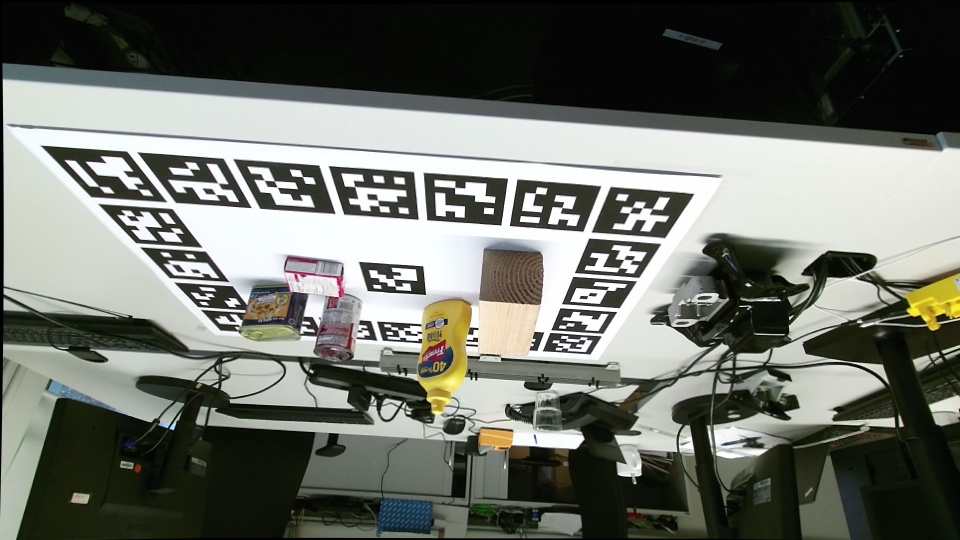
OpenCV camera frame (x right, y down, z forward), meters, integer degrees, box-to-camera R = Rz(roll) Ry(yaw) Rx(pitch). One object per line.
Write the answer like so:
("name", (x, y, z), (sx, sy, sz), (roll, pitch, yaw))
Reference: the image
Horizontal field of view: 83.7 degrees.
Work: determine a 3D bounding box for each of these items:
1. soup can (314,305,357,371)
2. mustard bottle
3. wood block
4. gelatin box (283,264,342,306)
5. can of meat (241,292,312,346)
("soup can", (-0.259, 0.121, 0.950), (0.068, 0.101, 0.068), (2, 147, 1))
("mustard bottle", (-0.065, 0.157, 0.931), (0.096, 0.190, 0.058), (-9, 147, 22))
("wood block", (0.040, 0.070, 0.866), (0.091, 0.089, 0.206), (6, 153, -1))
("gelatin box", (-0.272, 0.025, 0.871), (0.090, 0.030, 0.073), (7, 147, -11))
("can of meat", (-0.354, 0.087, 0.939), (0.102, 0.083, 0.058), (-2, 148, 13))
